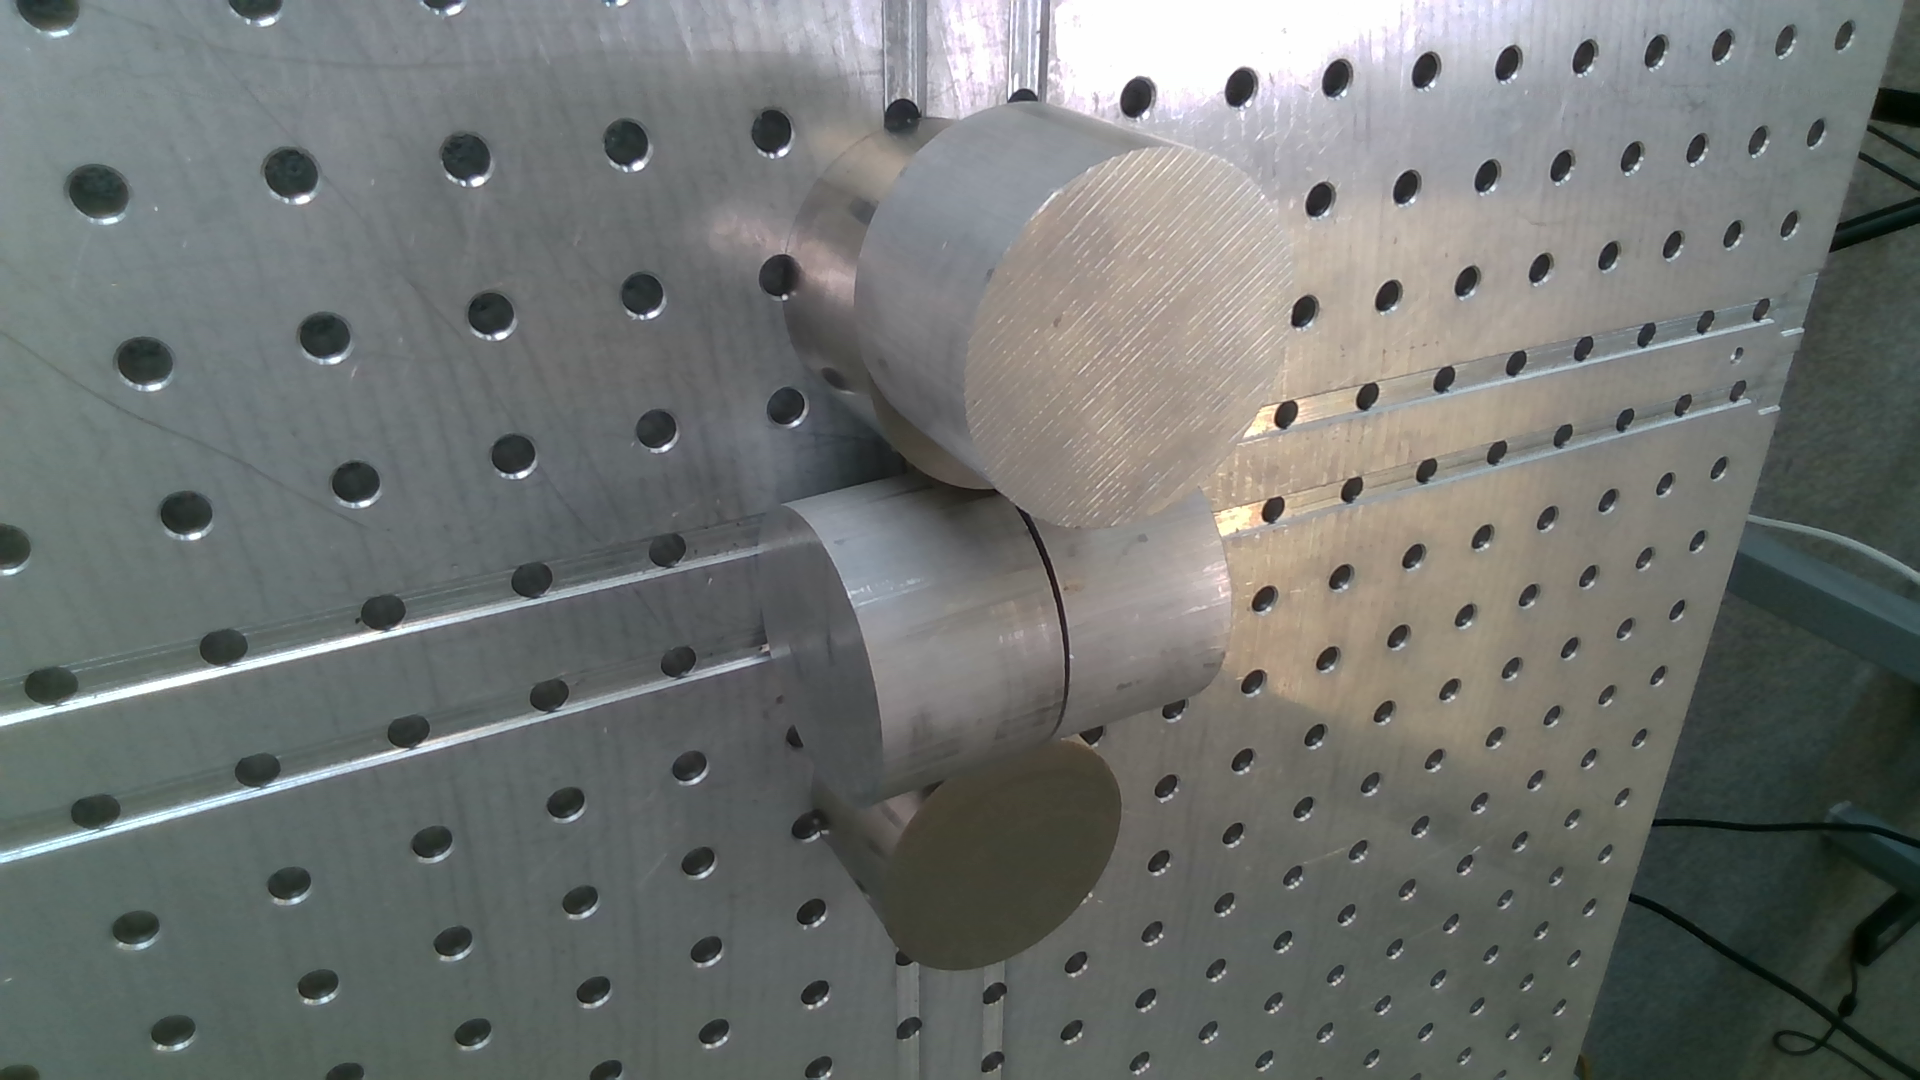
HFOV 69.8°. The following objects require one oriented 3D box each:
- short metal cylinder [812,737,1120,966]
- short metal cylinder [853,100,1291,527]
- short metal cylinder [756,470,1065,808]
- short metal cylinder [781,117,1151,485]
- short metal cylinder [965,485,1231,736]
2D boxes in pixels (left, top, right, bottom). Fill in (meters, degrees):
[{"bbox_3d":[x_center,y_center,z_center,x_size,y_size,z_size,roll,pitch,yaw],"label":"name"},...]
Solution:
[{"bbox_3d":[0.002,0.081,0.421,0.080,0.050,0.080,-15,122,-25],"label":"short metal cylinder"},{"bbox_3d":[0.024,-0.049,0.298,0.080,0.050,0.080,-14,122,-25],"label":"short metal cylinder"},{"bbox_3d":[-0.015,0.024,0.360,0.050,0.080,0.080,-16,122,-24],"label":"short metal cylinder"},{"bbox_3d":[0.002,-0.060,0.345,0.080,0.050,0.080,-15,122,-25],"label":"short metal cylinder"},{"bbox_3d":[0.030,0.011,0.382,0.050,0.080,0.080,-13,121,-25],"label":"short metal cylinder"}]
